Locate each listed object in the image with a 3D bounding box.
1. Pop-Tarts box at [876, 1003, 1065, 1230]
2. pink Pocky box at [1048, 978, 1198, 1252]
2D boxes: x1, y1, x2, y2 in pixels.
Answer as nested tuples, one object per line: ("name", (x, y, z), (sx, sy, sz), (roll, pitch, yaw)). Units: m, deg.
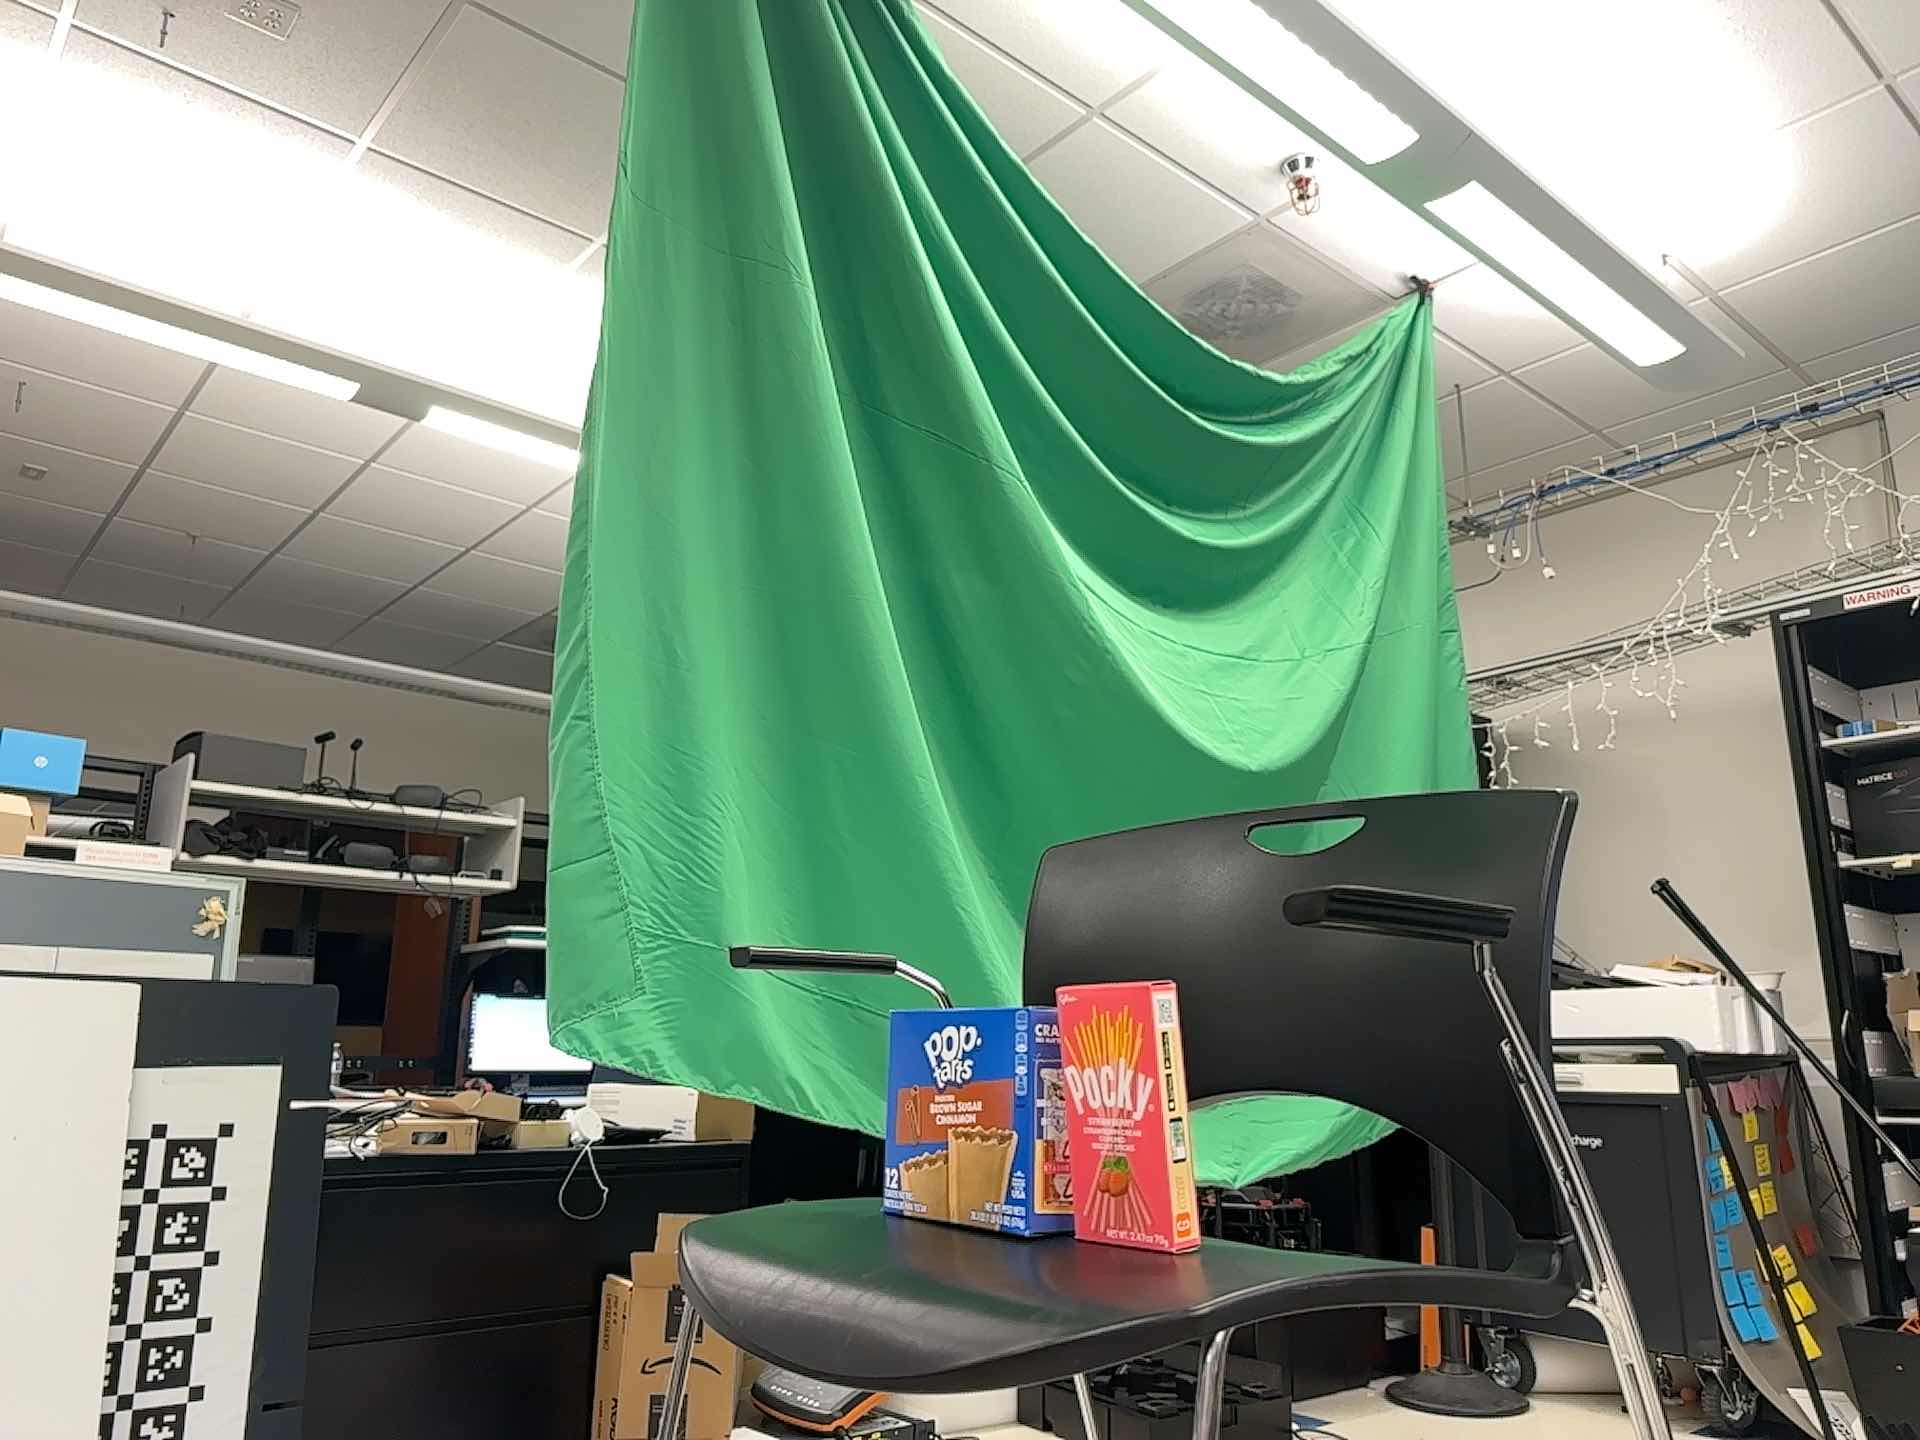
("Pop-Tarts box", (0.023, 0.269, 0.937), (0.075, 0.135, 0.161), (12, -17, -39))
("pink Pocky box", (0.097, 0.236, 0.818), (0.029, 0.155, 0.084), (6, -13, -44))
